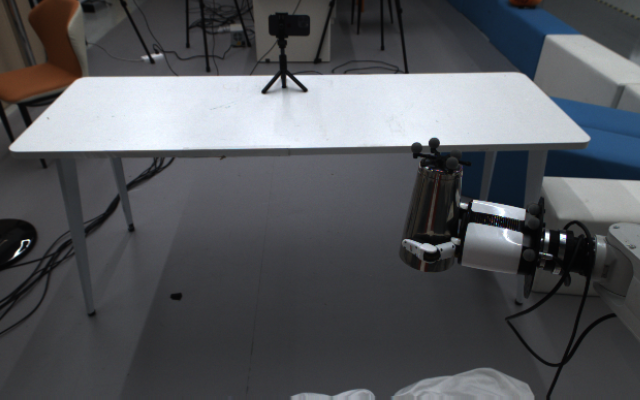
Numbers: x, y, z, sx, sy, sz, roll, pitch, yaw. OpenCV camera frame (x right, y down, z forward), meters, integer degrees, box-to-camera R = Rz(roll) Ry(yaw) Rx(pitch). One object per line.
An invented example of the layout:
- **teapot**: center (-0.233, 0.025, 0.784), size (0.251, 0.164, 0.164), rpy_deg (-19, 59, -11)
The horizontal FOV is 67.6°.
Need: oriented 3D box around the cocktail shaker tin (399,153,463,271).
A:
- **cocktail shaker tin**: center (0.183, 0.019, 0.778), size (0.093, 0.170, 0.093), rpy_deg (1, 28, -1)
